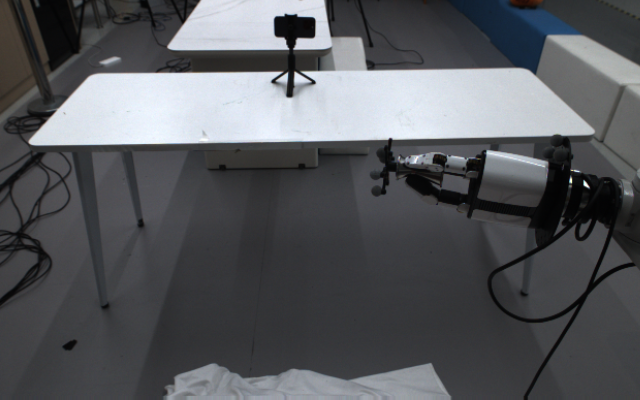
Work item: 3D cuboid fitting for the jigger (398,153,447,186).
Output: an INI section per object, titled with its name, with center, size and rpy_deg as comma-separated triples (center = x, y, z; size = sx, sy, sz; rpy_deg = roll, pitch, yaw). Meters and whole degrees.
[jigger]
center = 0.157, -0.050, 0.725
size = 0.071, 0.043, 0.043
rpy_deg = 8, 35, 15
